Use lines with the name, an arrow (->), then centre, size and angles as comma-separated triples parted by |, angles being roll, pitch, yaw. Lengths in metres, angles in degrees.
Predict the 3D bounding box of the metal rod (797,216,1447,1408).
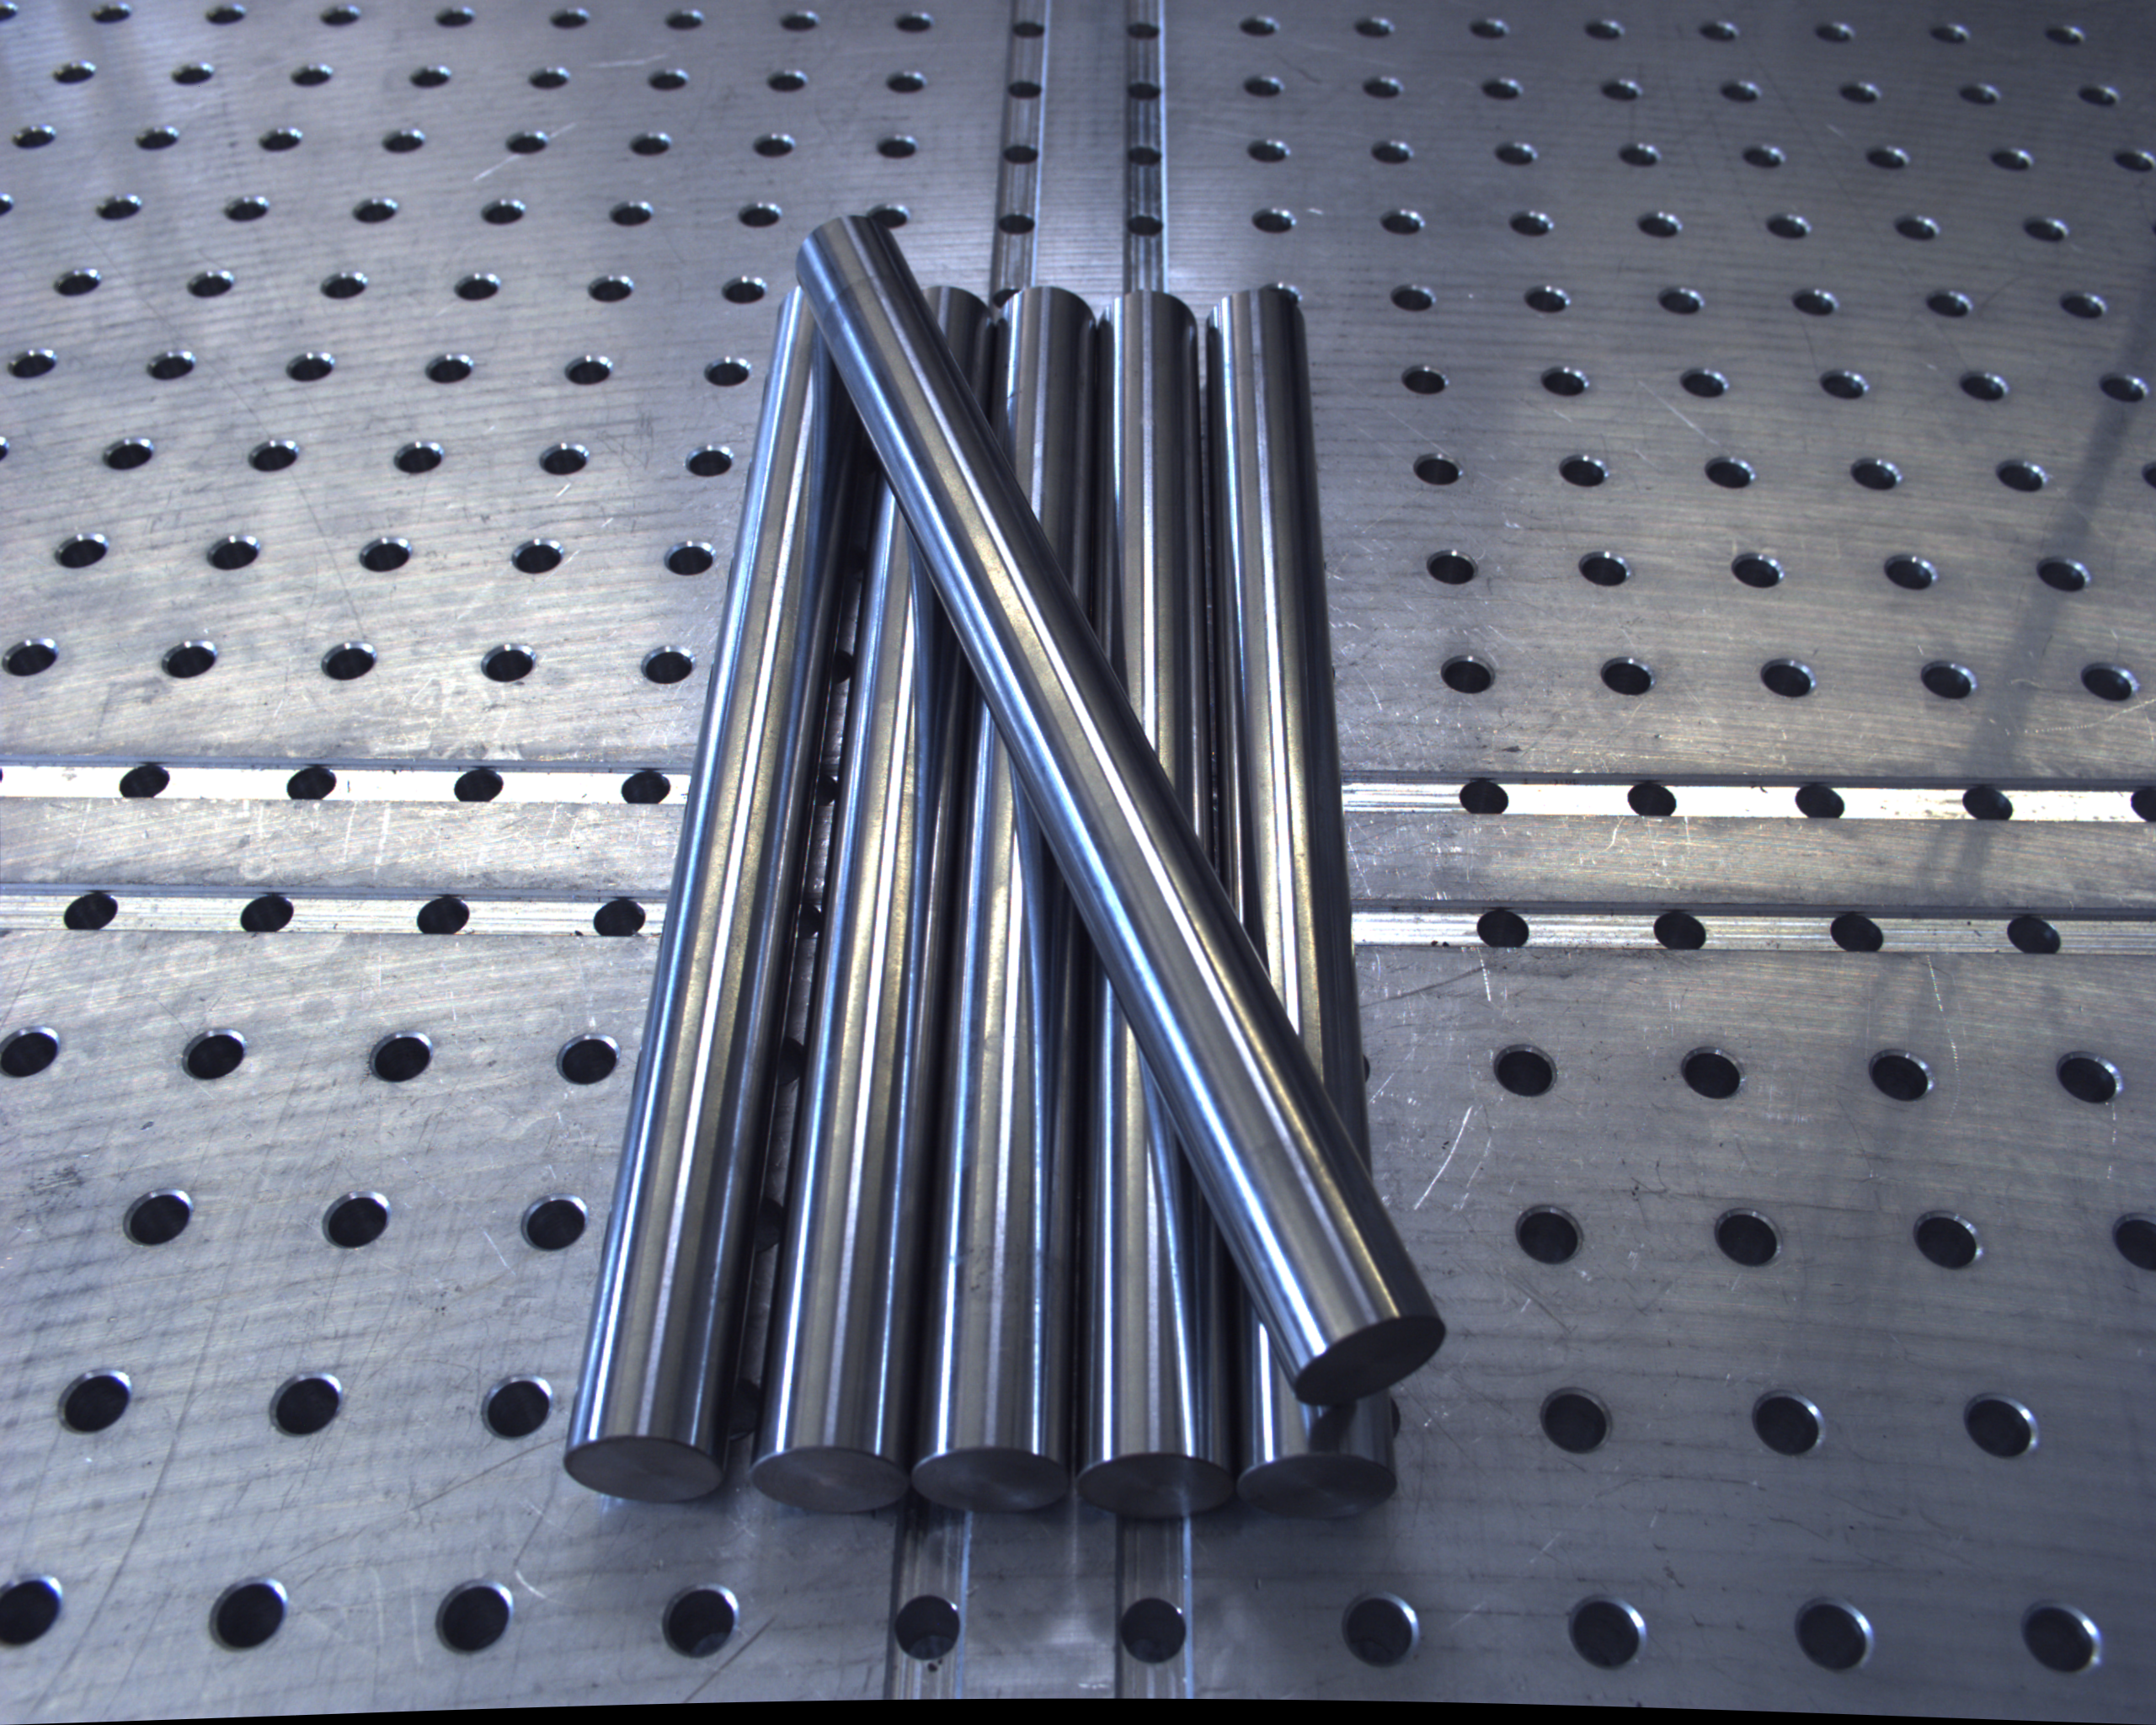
metal rod -> -0.005, -0.033, 0.403 | 0.025, 0.025, 0.300 | -15, 52, -12

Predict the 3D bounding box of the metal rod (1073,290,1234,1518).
metal rod -> 0.015, -0.017, 0.423 | 0.025, 0.025, 0.300 | 1, 50, 1

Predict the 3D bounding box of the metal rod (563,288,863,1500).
metal rod -> -0.065, -0.020, 0.423 | 0.025, 0.025, 0.300 | 1, 50, 1

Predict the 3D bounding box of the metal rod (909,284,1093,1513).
metal rod -> -0.011, -0.018, 0.422 | 0.025, 0.025, 0.300 | 1, 50, 1

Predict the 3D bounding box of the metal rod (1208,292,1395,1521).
metal rod -> 0.041, -0.017, 0.423 | 0.025, 0.025, 0.300 | 1, 50, 1

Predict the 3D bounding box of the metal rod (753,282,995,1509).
metal rod -> -0.035, -0.019, 0.422 | 0.025, 0.025, 0.300 | 1, 50, 1
